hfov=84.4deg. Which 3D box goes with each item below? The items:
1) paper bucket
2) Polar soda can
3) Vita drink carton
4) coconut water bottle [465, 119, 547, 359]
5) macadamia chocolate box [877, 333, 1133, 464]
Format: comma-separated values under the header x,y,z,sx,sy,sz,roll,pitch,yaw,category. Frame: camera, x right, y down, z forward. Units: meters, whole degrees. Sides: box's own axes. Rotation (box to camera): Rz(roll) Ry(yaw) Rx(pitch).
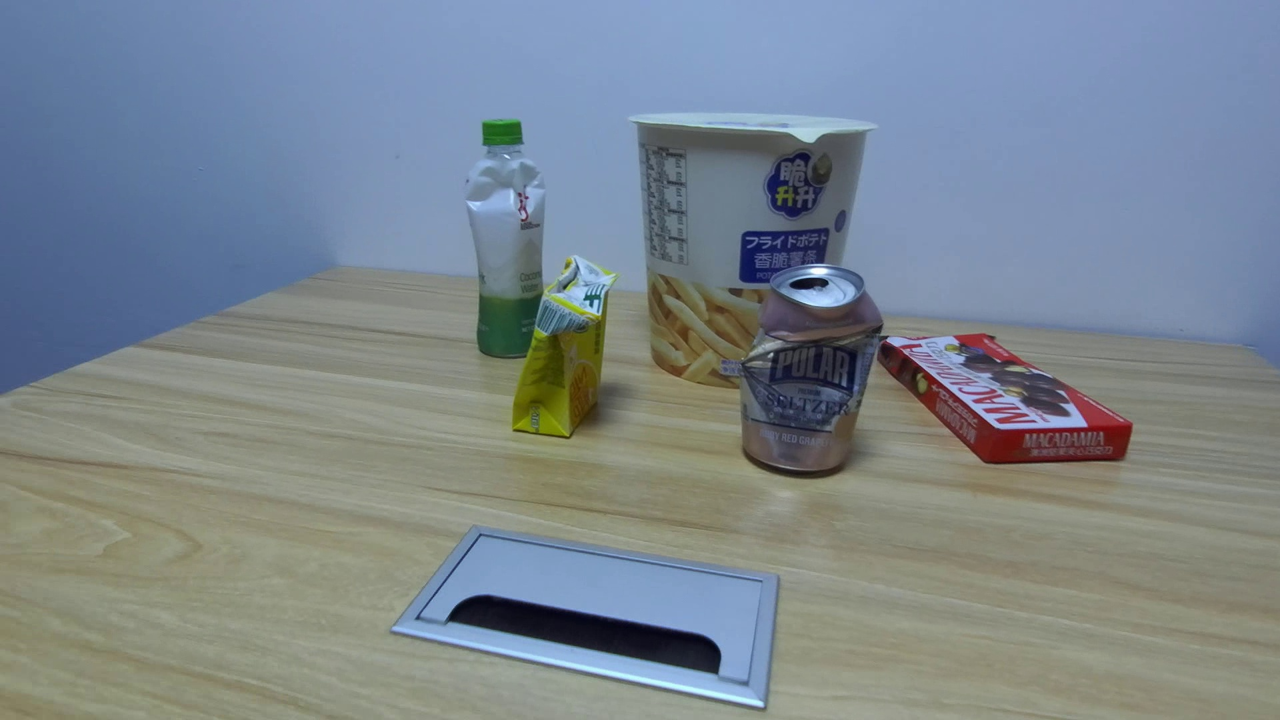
x,y,z,sx,sy,sz,roll,pitch,yaw,category
0.084,-0.093,0.575,0.198,0.194,0.198,1,22,0,paper bucket
0.098,0.009,0.425,0.071,0.122,0.066,-12,30,-29,Polar soda can
-0.047,-0.007,0.475,0.042,0.108,0.087,19,28,8,Vita drink carton
-0.110,-0.099,0.584,0.069,0.186,0.069,-1,21,1,coconut water bottle
0.262,0.020,0.531,0.106,0.028,0.182,-1,21,-4,macadamia chocolate box
